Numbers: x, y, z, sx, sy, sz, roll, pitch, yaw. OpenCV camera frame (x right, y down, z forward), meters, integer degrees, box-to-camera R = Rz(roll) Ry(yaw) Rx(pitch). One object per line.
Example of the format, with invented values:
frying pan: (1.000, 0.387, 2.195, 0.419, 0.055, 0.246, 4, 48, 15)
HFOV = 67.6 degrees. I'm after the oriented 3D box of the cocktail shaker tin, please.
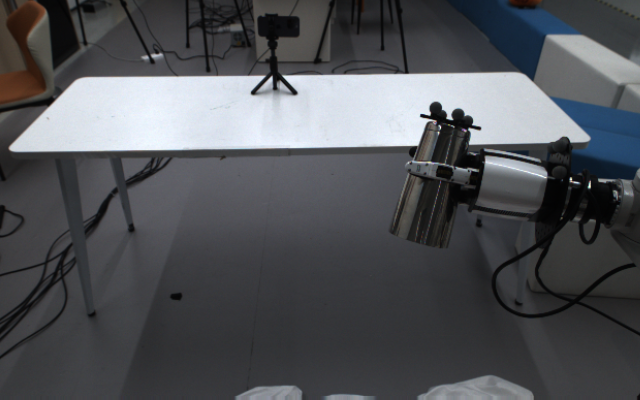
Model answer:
cocktail shaker tin: (0.169, -0.025, 0.714, 0.093, 0.170, 0.093, 14, 6, -2)
